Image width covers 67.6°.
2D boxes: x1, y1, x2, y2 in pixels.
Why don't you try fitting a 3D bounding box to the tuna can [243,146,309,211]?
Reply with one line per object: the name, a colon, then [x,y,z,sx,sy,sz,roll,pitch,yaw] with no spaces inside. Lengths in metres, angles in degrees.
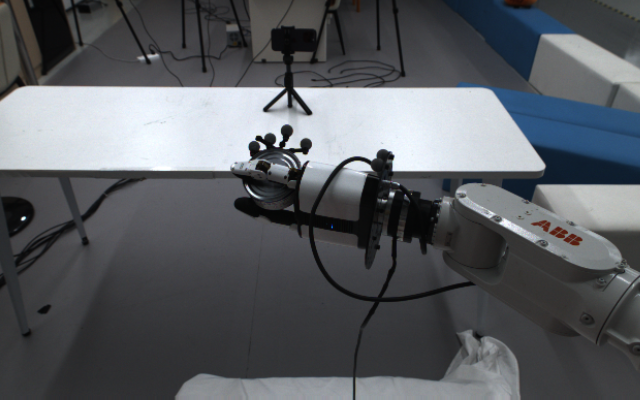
tuna can: [-0.064,-0.029,0.686,0.085,0.034,0.085,-6,61,10]
